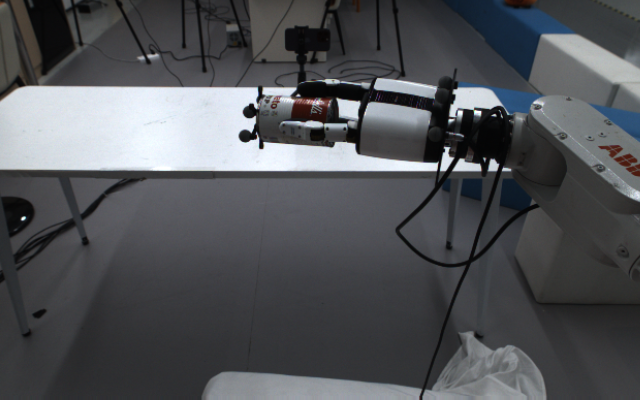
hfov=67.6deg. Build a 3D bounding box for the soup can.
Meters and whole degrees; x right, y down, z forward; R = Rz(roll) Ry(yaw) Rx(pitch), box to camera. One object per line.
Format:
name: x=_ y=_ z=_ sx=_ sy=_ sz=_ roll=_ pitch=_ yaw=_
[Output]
soup can: x=-0.029 y=-0.110 z=0.675 sx=0.101 sy=0.067 sz=0.067 roll=6 pitch=35 yaw=13
